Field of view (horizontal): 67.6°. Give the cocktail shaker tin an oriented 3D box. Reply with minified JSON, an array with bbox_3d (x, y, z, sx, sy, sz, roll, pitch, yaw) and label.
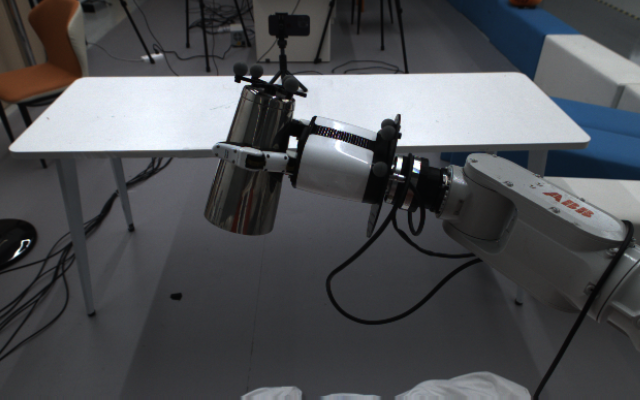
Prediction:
[{"bbox_3d":[-0.084,-0.052,0.610,0.093,0.170,0.093,15,17,-5],"label":"cocktail shaker tin"}]
